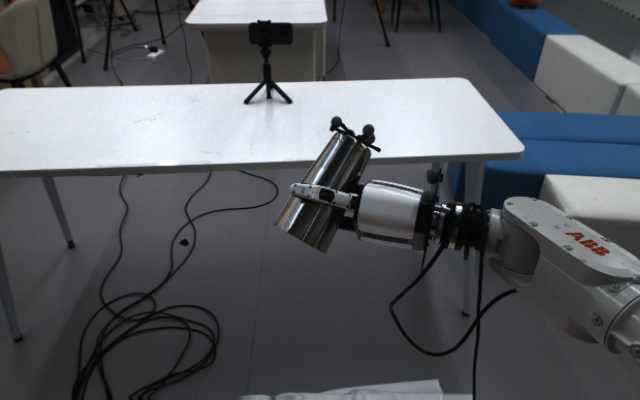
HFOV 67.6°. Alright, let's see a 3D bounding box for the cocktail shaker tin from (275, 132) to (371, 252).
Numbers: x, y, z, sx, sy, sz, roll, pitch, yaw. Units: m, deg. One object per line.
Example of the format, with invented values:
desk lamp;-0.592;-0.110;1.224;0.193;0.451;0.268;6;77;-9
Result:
cocktail shaker tin;0.009;-0.018;0.742;0.093;0.093;0.170;26;83;31
